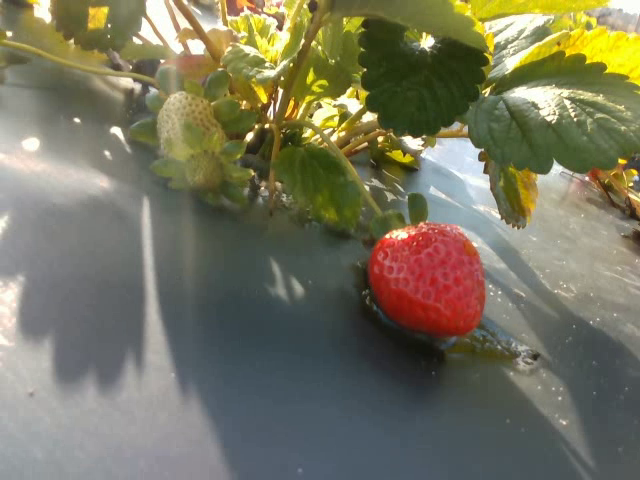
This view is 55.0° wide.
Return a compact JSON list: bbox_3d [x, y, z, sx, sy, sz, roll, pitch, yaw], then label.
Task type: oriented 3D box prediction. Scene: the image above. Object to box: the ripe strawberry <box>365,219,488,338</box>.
[{"bbox_3d":[0.029,0.012,0.143,0.030,0.033,0.045,-21,25,4],"label":"ripe strawberry"}]
